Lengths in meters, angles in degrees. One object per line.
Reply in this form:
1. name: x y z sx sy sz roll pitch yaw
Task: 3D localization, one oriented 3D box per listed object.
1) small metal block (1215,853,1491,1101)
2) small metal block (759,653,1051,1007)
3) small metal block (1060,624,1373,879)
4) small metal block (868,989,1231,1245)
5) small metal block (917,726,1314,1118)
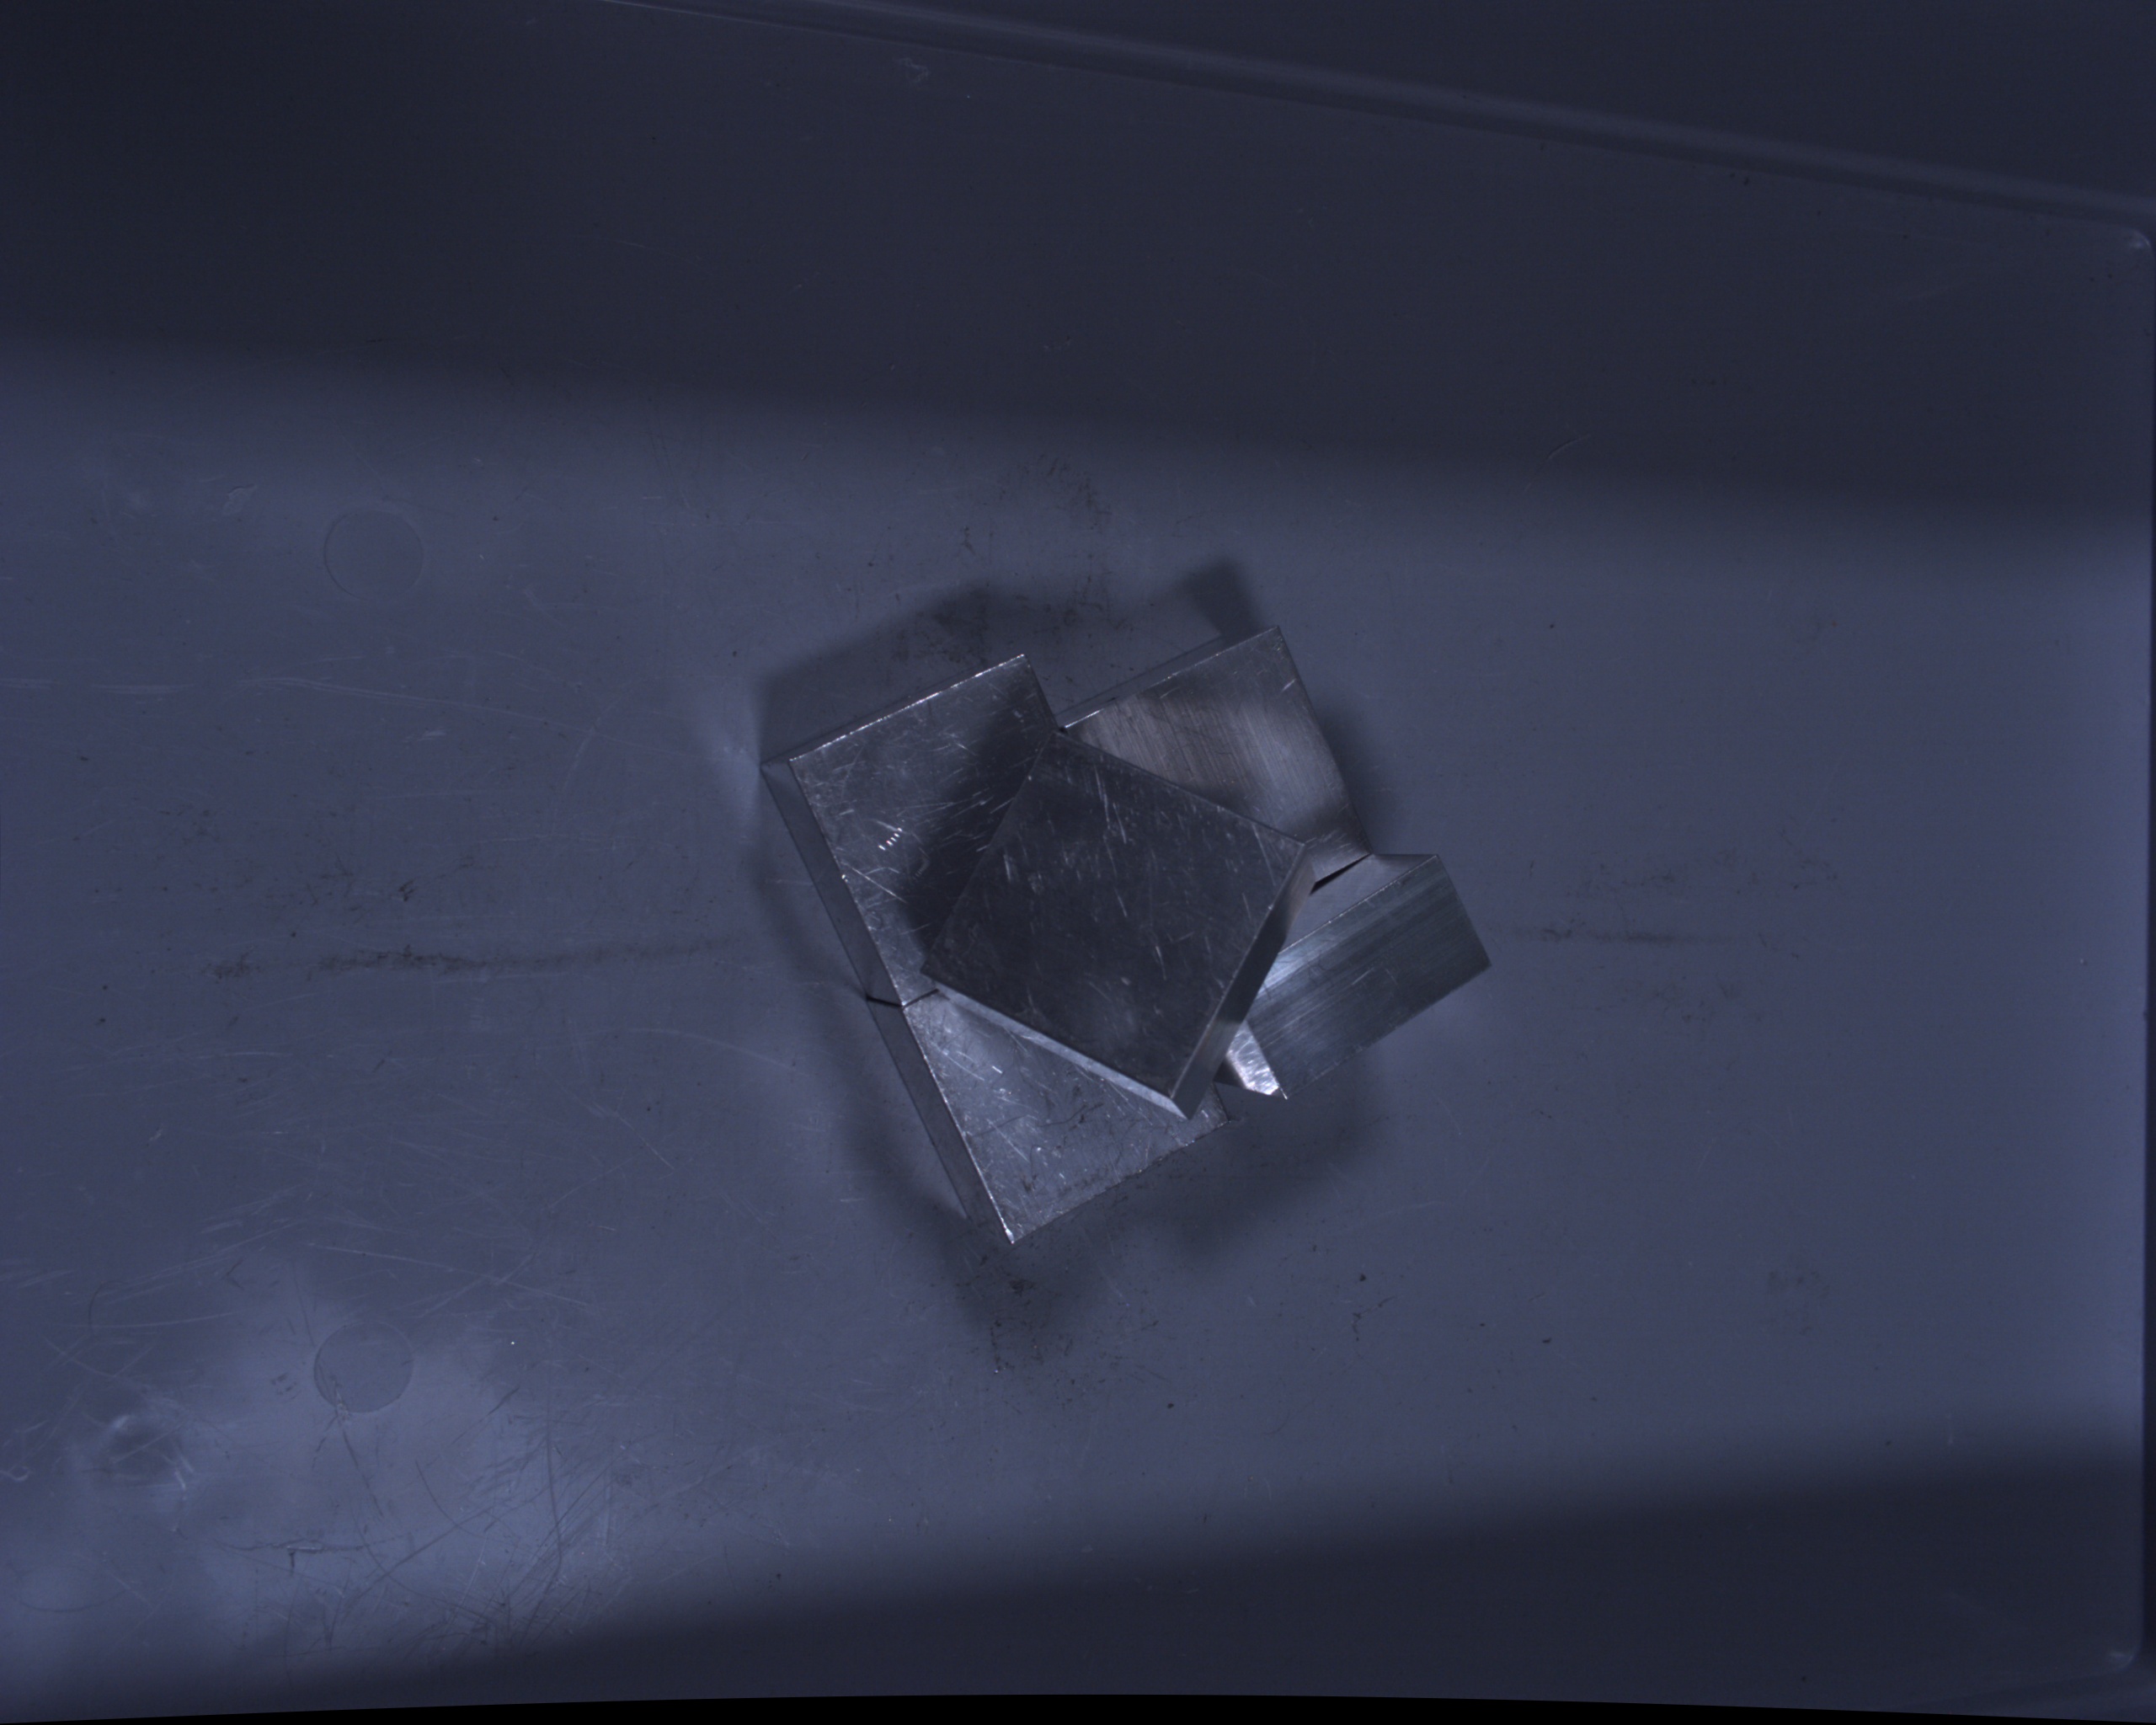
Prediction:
1. small metal block: 0.044 0.021 0.413 0.050 0.050 0.025 -30 100 -19
2. small metal block: -0.026 -0.006 0.400 0.050 0.025 0.050 -26 99 -18
3. small metal block: 0.024 -0.014 0.419 0.050 0.025 0.050 -26 99 -18
4. small metal block: -0.006 0.039 0.408 0.050 0.025 0.050 -26 99 -18
5. small metal block: 0.008 0.011 0.373 0.050 0.025 0.050 25 79 16
